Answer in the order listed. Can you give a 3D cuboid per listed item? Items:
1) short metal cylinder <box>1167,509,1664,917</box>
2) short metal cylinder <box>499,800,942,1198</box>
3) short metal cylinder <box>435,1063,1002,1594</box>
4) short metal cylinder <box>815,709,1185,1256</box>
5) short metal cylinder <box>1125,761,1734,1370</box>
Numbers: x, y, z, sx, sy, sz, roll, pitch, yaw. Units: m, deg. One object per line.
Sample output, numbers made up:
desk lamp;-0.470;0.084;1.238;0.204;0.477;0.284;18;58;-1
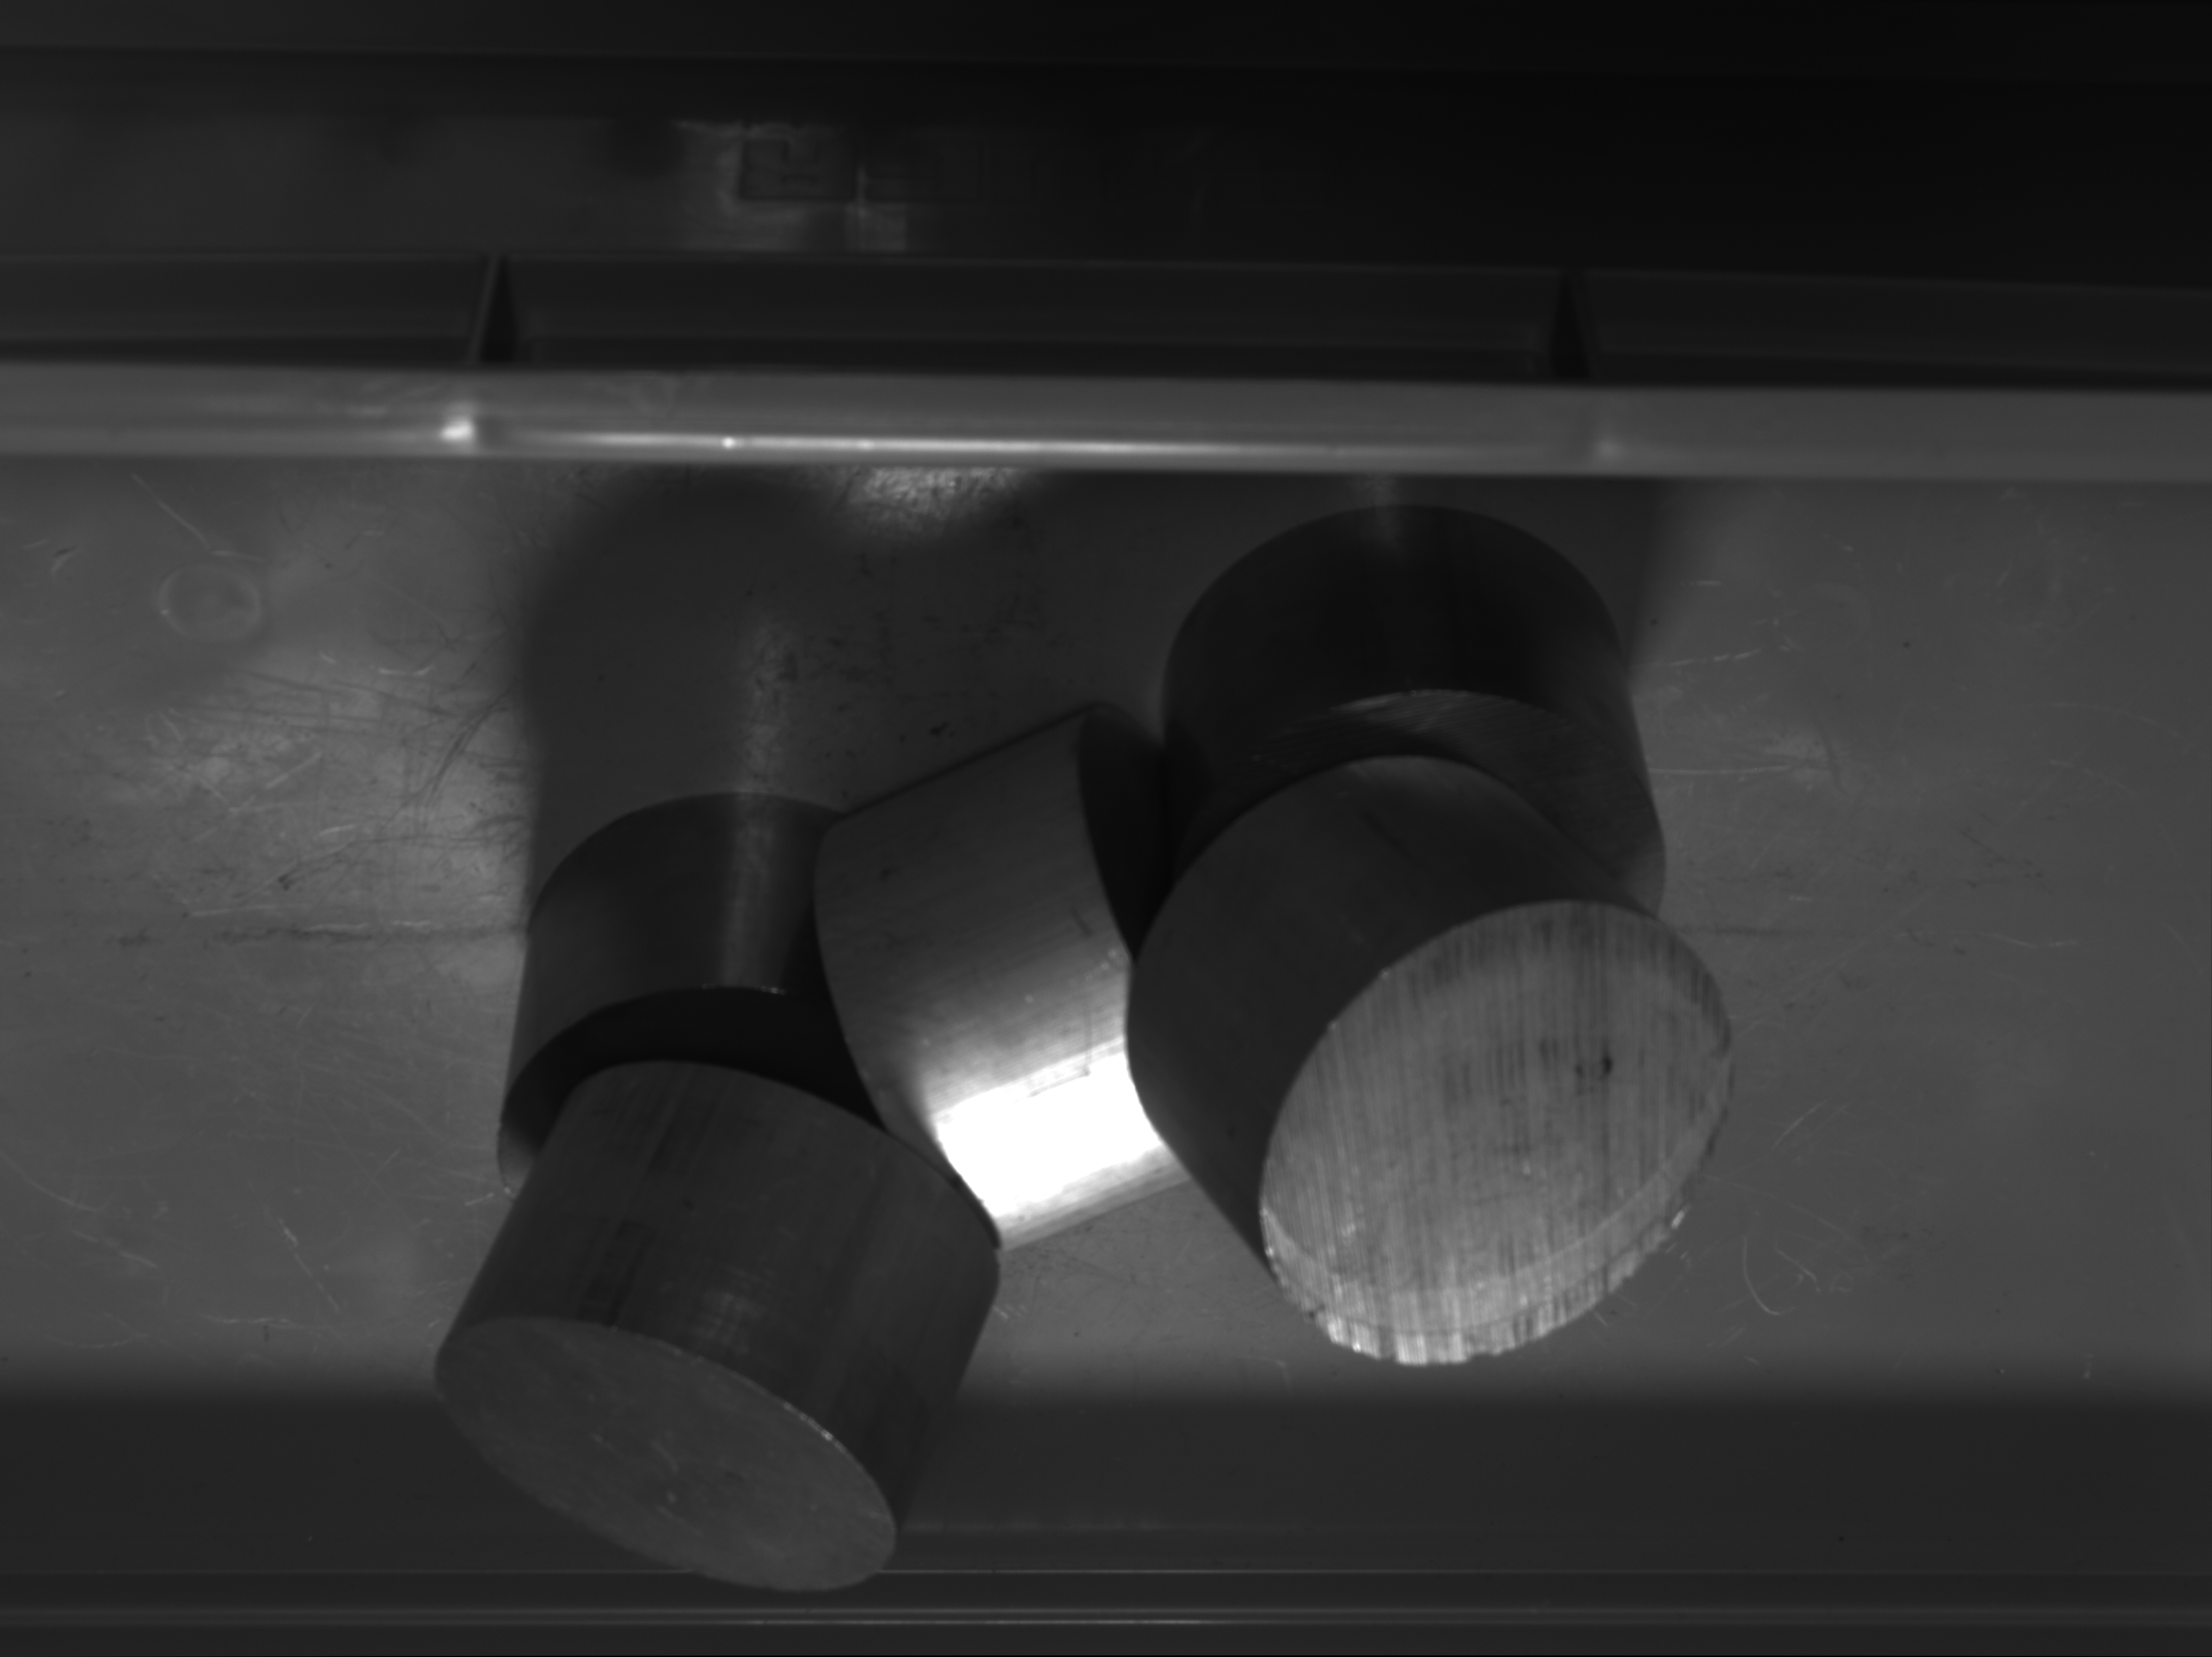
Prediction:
short metal cylinder;0.050;-0.007;0.617;0.080;0.050;0.080;-1;130;-1
short metal cylinder;-0.065;0.042;0.653;0.080;0.050;0.080;-1;130;-1
short metal cylinder;-0.063;0.083;0.604;0.080;0.050;0.080;15;144;11
short metal cylinder;-0.007;0.026;0.622;0.050;0.080;0.080;-23;127;17
short metal cylinder;0.050;0.036;0.568;0.080;0.050;0.080;-11;120;-20
